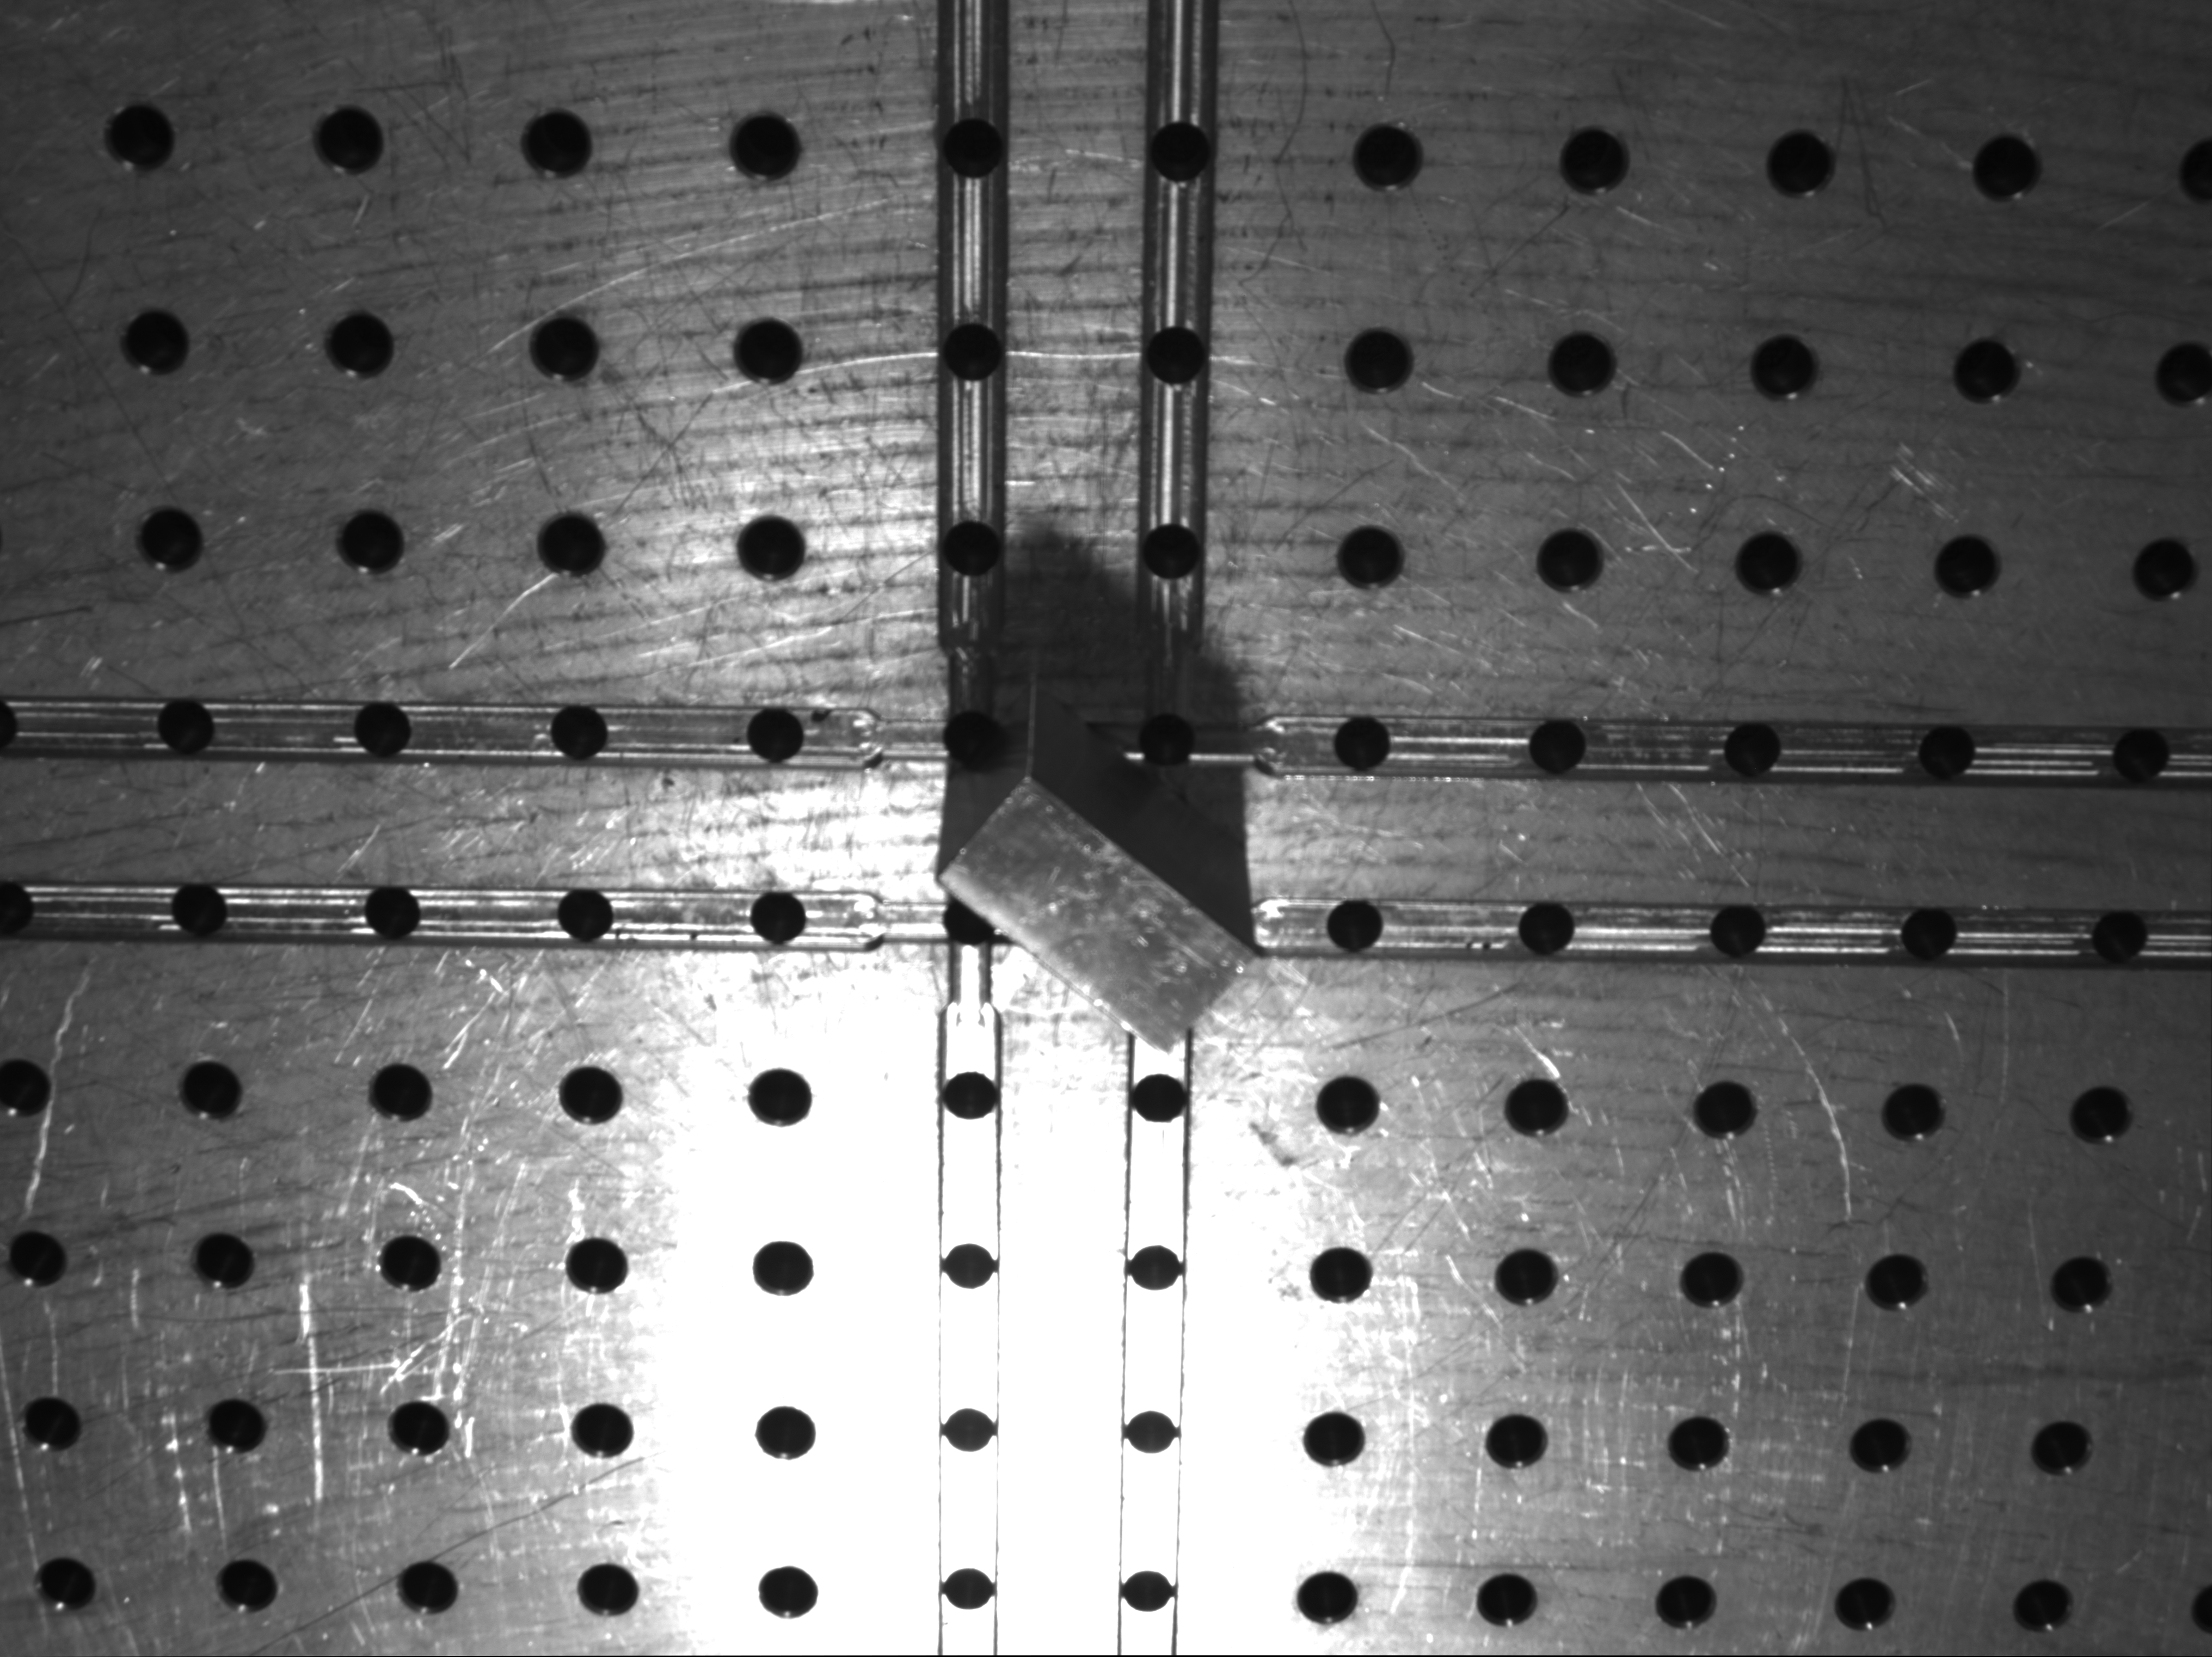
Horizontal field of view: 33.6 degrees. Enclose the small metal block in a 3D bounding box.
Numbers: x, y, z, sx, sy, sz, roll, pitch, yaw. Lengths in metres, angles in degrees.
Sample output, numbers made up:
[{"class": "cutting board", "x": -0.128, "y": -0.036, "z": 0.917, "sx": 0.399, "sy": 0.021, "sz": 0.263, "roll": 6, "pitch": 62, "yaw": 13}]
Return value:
[{"class": "small metal block", "x": -0.004, "y": 0.007, "z": 0.634, "sx": 0.050, "sy": 0.050, "sz": 0.025, "roll": 38, "pitch": 105, "yaw": -13}]
